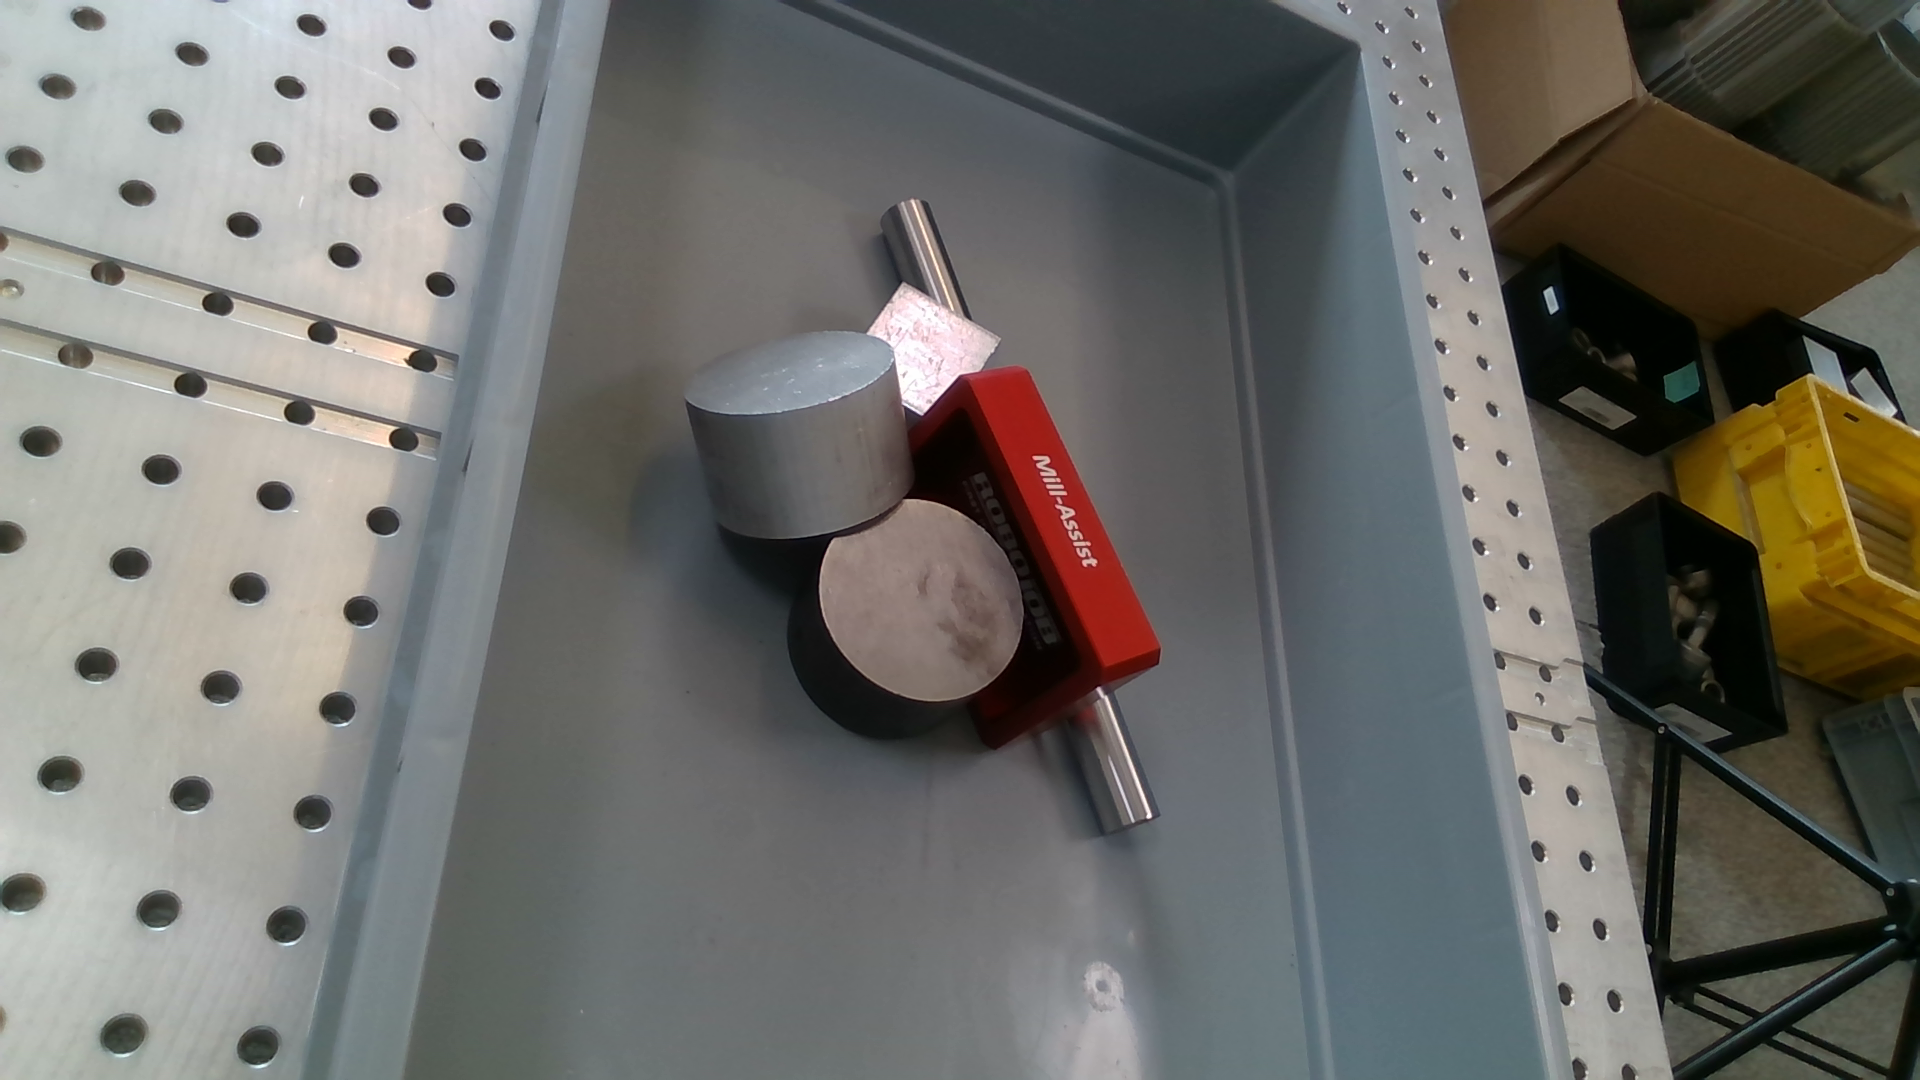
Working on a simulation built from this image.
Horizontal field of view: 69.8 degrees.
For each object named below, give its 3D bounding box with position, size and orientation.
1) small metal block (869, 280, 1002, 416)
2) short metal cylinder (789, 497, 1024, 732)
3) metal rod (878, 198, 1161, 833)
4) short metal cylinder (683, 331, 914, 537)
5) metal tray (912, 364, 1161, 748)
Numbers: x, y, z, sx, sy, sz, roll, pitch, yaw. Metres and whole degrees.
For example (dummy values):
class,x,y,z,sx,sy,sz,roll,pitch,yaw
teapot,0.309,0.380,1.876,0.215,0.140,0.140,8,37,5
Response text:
class,x,y,z,sx,sy,sz,roll,pitch,yaw
small metal block,-0.017,-0.076,0.598,0.050,0.025,0.050,31,71,5
short metal cylinder,-0.022,0.030,0.533,0.080,0.050,0.080,8,65,-18
metal rod,0.022,-0.019,0.608,0.025,0.025,0.299,-8,70,-34
short metal cylinder,-0.061,-0.042,0.526,0.080,0.080,0.050,-34,127,-39
metal tray,0.018,0.007,0.550,0.030,0.090,0.130,-14,73,-36
